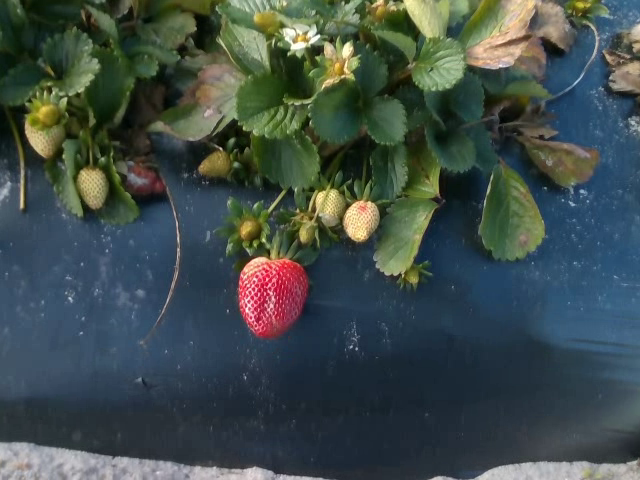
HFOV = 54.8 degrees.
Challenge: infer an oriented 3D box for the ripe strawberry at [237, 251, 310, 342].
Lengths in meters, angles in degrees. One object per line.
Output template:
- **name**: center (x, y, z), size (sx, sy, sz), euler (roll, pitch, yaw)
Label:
- **ripe strawberry**: center (-0.037, 0.043, 0.451), size (0.052, 0.068, 0.045), euler (8, -39, -9)
